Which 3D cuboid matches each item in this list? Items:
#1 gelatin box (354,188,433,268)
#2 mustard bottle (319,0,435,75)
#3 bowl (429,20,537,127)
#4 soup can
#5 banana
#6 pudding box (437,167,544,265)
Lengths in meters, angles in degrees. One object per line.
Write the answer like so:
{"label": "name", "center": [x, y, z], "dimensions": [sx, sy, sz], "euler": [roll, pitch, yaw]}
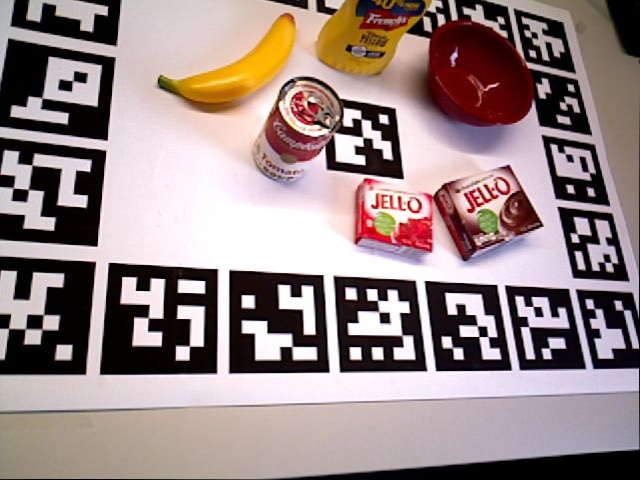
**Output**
{"label": "gelatin box", "center": [0.082, -0.013, 0.606], "dimensions": [0.088, 0.031, 0.072], "euler": [11, 70, -17]}
{"label": "mustard bottle", "center": [0.075, -0.267, 0.595], "dimensions": [0.095, 0.196, 0.058], "euler": [5, 64, -21]}
{"label": "bowl", "center": [0.203, -0.208, 0.719], "dimensions": [0.160, 0.056, 0.160], "euler": [7, 67, -18]}
{"label": "soup can", "center": [-0.029, -0.115, 0.549], "dimensions": [0.067, 0.104, 0.067], "euler": [9, 64, -21]}
{"label": "banana", "center": [-0.090, -0.208, 0.608], "dimensions": [0.074, 0.040, 0.193], "euler": [38, 60, 7]}
{"label": "pudding box", "center": [0.208, -0.031, 0.658], "dimensions": [0.111, 0.039, 0.090], "euler": [-21, 84, -27]}
